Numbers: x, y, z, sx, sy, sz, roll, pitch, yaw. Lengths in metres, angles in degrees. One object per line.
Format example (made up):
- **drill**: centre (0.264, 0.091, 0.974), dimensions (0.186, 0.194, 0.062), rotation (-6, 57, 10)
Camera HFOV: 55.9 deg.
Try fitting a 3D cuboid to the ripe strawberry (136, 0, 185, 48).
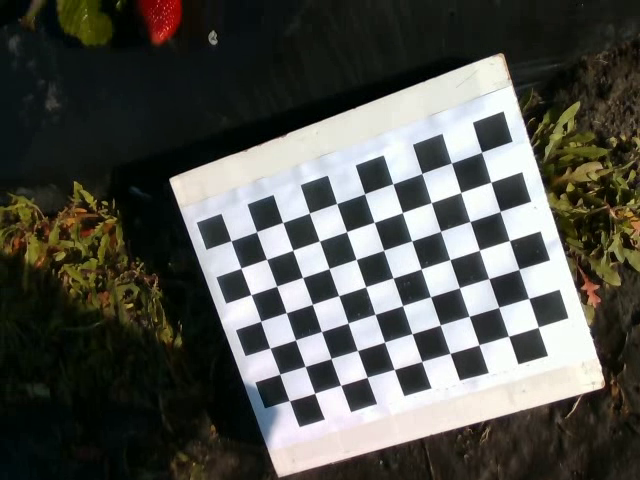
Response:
- **ripe strawberry**: centre (-0.128, -0.166, 0.471), dimensions (0.045, 0.055, 0.042), rotation (-11, -27, 5)
